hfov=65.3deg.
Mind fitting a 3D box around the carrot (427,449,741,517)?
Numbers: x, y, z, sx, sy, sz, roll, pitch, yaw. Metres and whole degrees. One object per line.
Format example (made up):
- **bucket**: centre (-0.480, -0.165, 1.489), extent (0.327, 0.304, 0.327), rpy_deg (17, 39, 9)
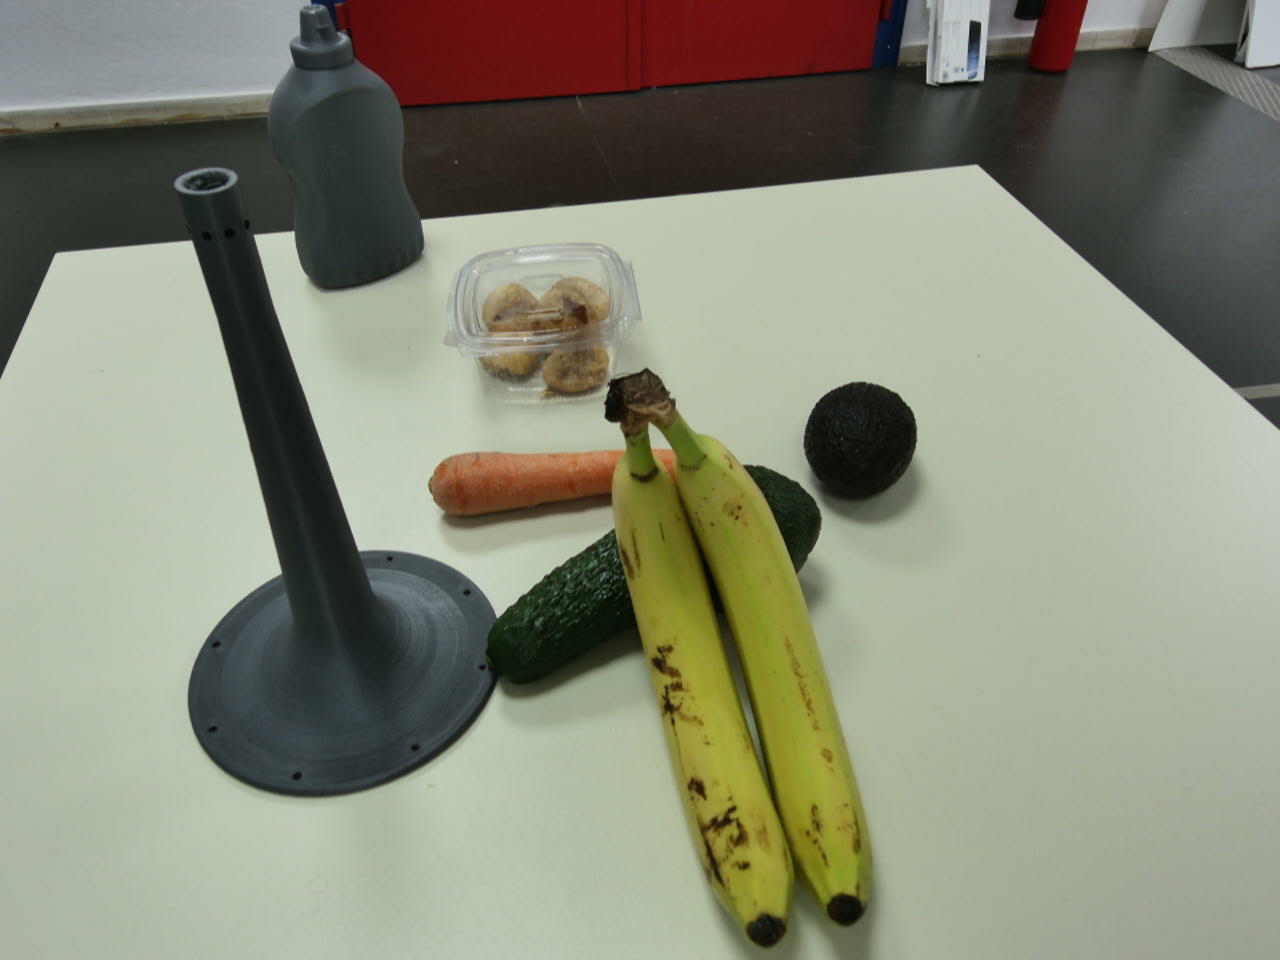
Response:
- **carrot**: centre (-0.030, -0.007, 0.621), extent (0.196, 0.041, 0.039), rpy_deg (-7, 40, -9)
